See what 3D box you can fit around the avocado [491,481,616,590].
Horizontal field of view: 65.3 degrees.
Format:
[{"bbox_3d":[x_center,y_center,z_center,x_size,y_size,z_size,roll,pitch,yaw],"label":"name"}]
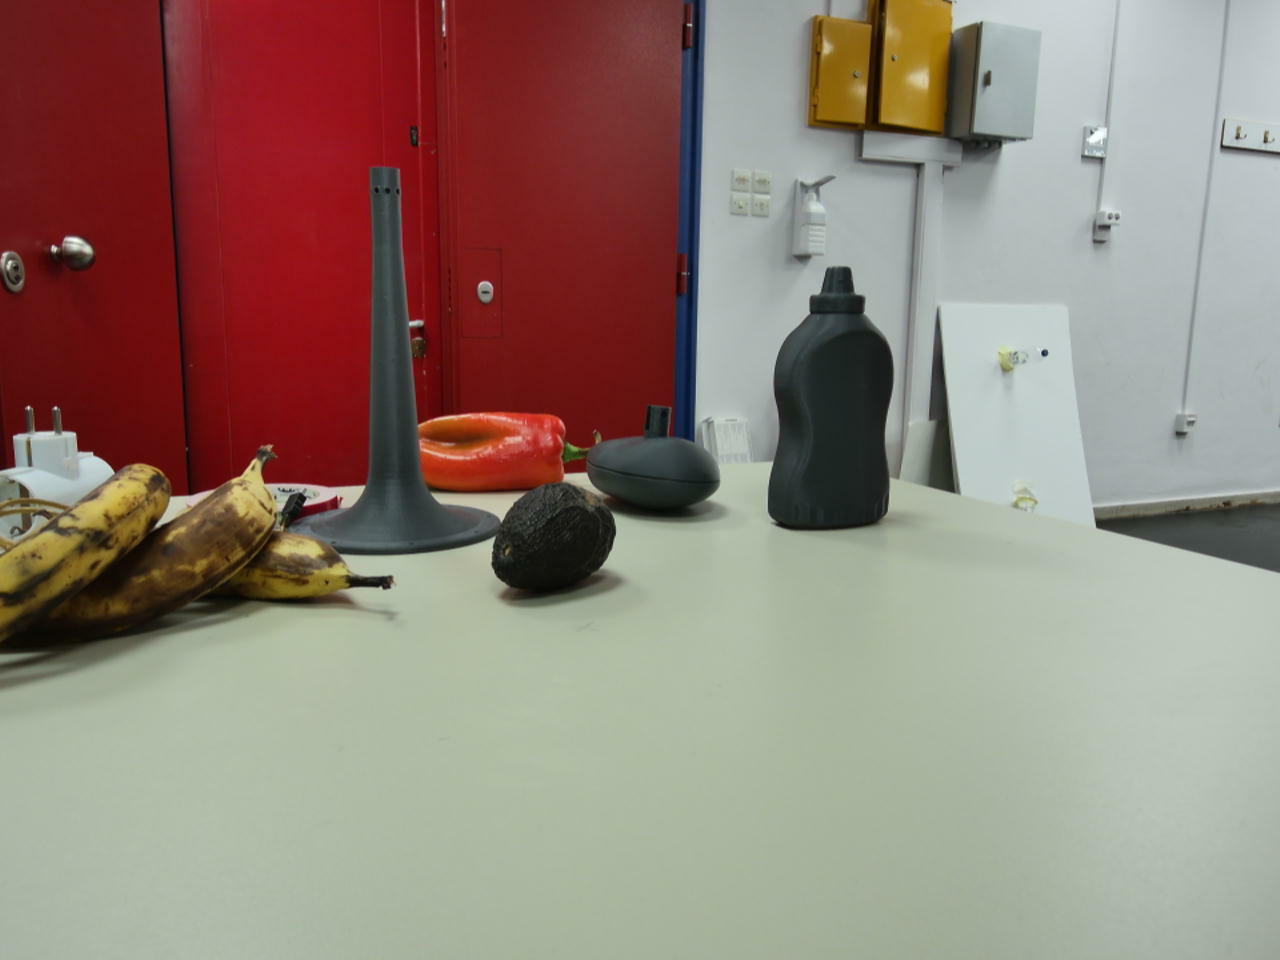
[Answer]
[{"bbox_3d":[-0.054,0.033,0.597,0.062,0.062,0.092,8,11,41],"label":"avocado"}]
